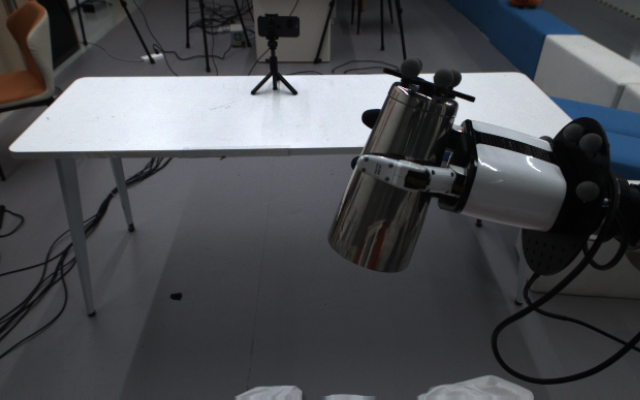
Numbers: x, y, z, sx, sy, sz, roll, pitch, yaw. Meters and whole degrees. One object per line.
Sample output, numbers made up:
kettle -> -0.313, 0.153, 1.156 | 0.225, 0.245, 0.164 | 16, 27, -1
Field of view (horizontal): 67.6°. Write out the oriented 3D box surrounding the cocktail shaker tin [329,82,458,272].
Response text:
cocktail shaker tin -> 0.078, -0.025, 0.486 | 0.093, 0.170, 0.093 | 15, 21, -6
